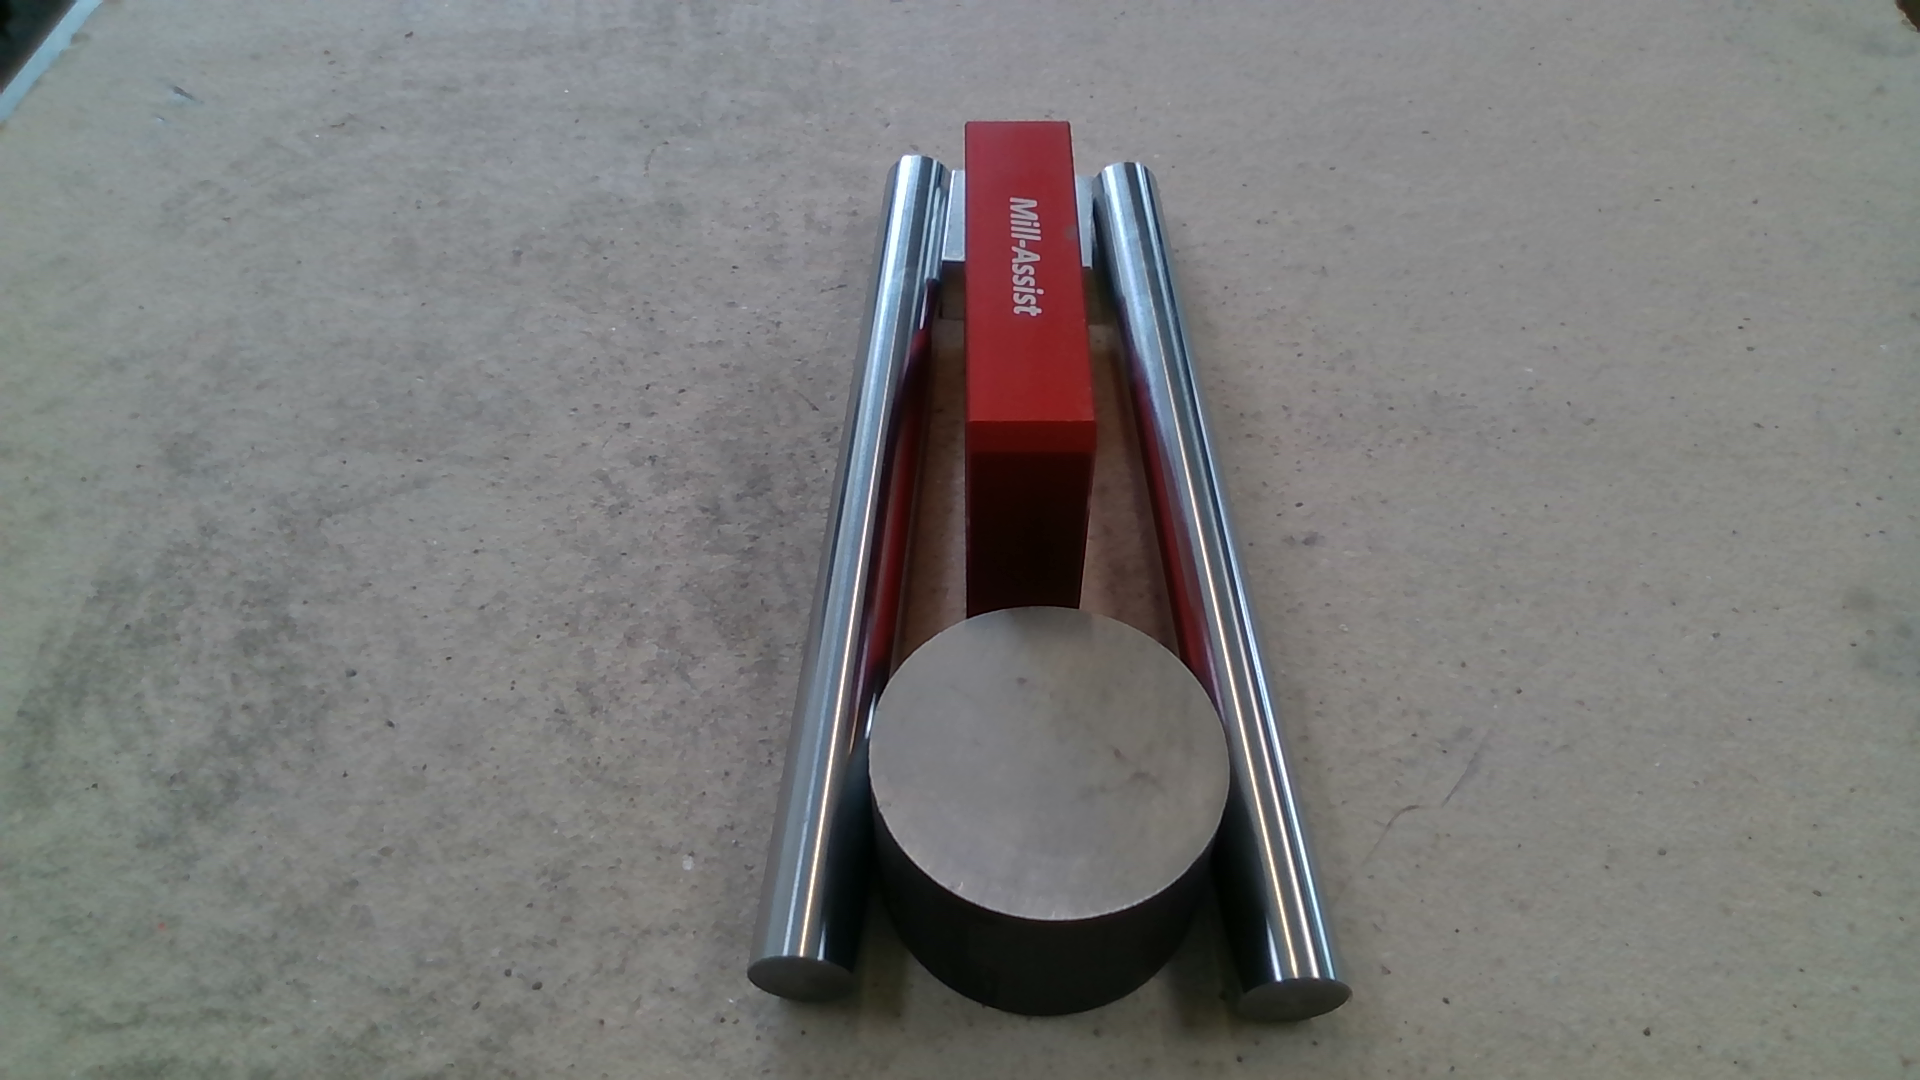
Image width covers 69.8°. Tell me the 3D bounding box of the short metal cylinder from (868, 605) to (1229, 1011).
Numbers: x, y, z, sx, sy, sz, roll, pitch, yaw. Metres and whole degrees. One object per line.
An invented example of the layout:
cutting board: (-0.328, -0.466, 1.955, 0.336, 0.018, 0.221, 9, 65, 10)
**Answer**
short metal cylinder: (0.020, 0.062, 0.325, 0.080, 0.050, 0.080, 0, 50, 0)

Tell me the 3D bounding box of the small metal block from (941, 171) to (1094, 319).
small metal block: (0.020, -0.102, 0.480, 0.050, 0.025, 0.050, 3, 50, 3)

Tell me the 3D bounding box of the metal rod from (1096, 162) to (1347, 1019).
metal rod: (0.067, -0.012, 0.404, 0.025, 0.025, 0.299, -2, 50, -2)

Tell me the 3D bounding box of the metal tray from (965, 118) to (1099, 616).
metal tray: (0.017, -0.045, 0.388, 0.030, 0.090, 0.130, 0, 50, 0)

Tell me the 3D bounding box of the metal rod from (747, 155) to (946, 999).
metal rod: (-0.025, -0.015, 0.407, 0.025, 0.025, 0.299, 3, 50, 3)
